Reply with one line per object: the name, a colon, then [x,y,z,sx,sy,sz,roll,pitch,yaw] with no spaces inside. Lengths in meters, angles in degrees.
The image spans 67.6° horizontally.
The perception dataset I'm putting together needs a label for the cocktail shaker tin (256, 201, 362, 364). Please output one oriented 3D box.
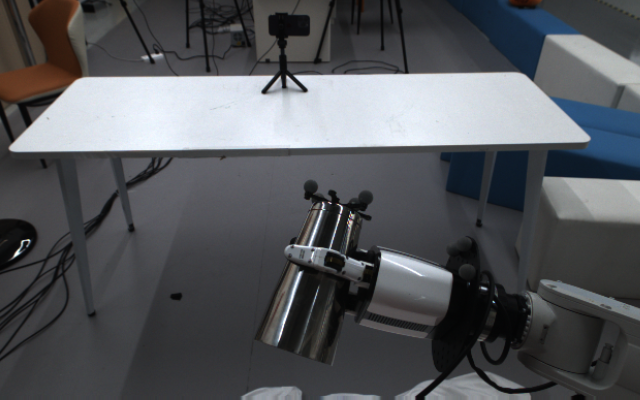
cocktail shaker tin: [-0.006,0.092,0.558,0.093,0.093,0.170,13,70,15]
